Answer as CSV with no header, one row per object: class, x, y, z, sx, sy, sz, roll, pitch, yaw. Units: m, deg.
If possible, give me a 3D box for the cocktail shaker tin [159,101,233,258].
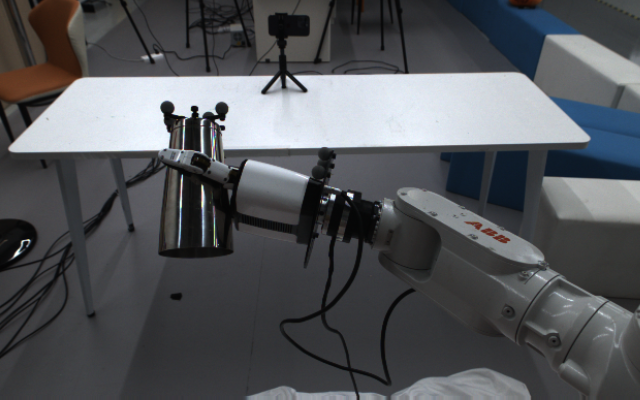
cocktail shaker tin,-0.161,-0.015,0.627,0.093,0.093,0.170,-3,76,-7
